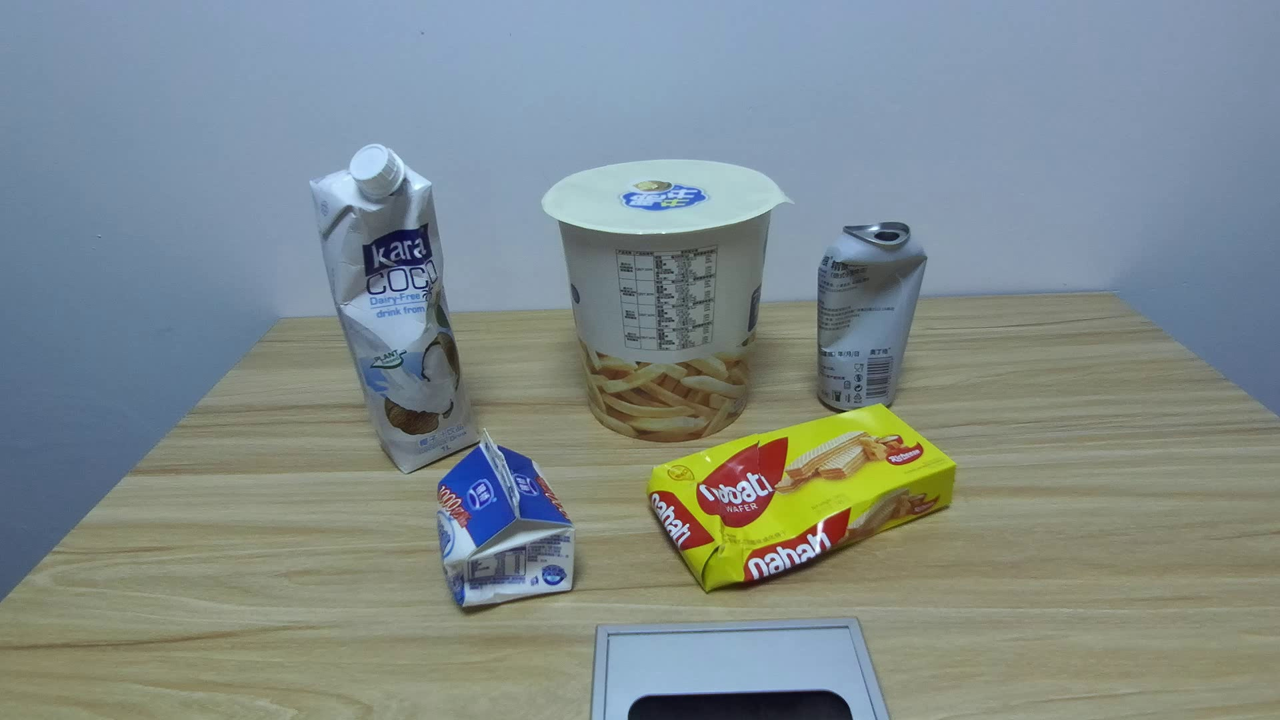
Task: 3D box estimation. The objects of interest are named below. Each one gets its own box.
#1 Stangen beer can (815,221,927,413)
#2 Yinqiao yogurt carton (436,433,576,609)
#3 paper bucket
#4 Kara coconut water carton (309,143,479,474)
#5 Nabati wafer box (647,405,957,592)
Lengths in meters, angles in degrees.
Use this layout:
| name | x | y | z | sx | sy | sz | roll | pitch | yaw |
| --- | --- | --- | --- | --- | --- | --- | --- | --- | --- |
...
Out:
| name | x | y | z | sx | sy | sz | roll | pitch | yaw |
| --- | --- | --- | --- | --- | --- | --- | --- | --- | --- |
| Stangen beer can | 0.192 | -0.034 | 0.598 | 0.065 | 0.162 | 0.077 | 24 | 40 | 36 |
| Yinqiao yogurt carton | -0.091 | 0.102 | 0.455 | 0.080 | 0.097 | 0.074 | -10 | 32 | -24 |
| paper bucket | 0.021 | -0.051 | 0.608 | 0.198 | 0.195 | 0.198 | -2 | 31 | 2 |
| Kara coconut water carton | -0.187 | -0.038 | 0.542 | 0.083 | 0.256 | 0.078 | -15 | 34 | -21 |
| Nabati wafer box | 0.116 | 0.095 | 0.507 | 0.205 | 0.042 | 0.106 | -13 | 30 | -16 |
